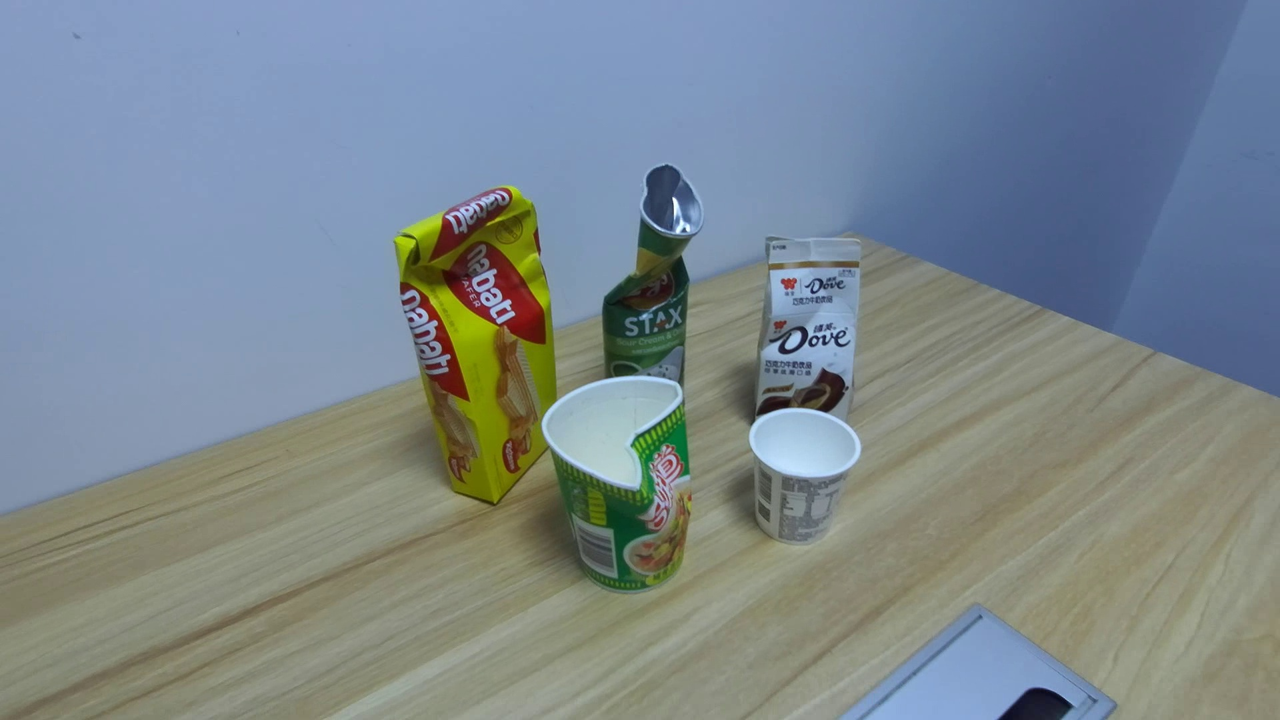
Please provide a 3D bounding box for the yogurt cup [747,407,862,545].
[{"bbox_3d":[0.105,0.080,0.469,0.072,0.068,0.072,-1,32,1],"label":"yogurt cup"}]

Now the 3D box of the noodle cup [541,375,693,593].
[{"bbox_3d":[-0.008,0.079,0.435,0.086,0.109,0.094,24,40,33],"label":"noodle cup"}]

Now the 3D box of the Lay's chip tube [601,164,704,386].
[{"bbox_3d":[0.012,-0.039,0.542,0.070,0.199,0.079,30,44,28],"label":"Lay's chip tube"}]

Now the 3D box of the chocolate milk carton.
[{"bbox_3d":[0.134,-0.023,0.551,0.084,0.155,0.073,5,33,8],"label":"chocolate milk carton"}]

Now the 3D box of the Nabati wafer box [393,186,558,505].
[{"bbox_3d":[-0.103,-0.006,0.488,0.042,0.205,0.113,14,36,25],"label":"Nabati wafer box"}]
